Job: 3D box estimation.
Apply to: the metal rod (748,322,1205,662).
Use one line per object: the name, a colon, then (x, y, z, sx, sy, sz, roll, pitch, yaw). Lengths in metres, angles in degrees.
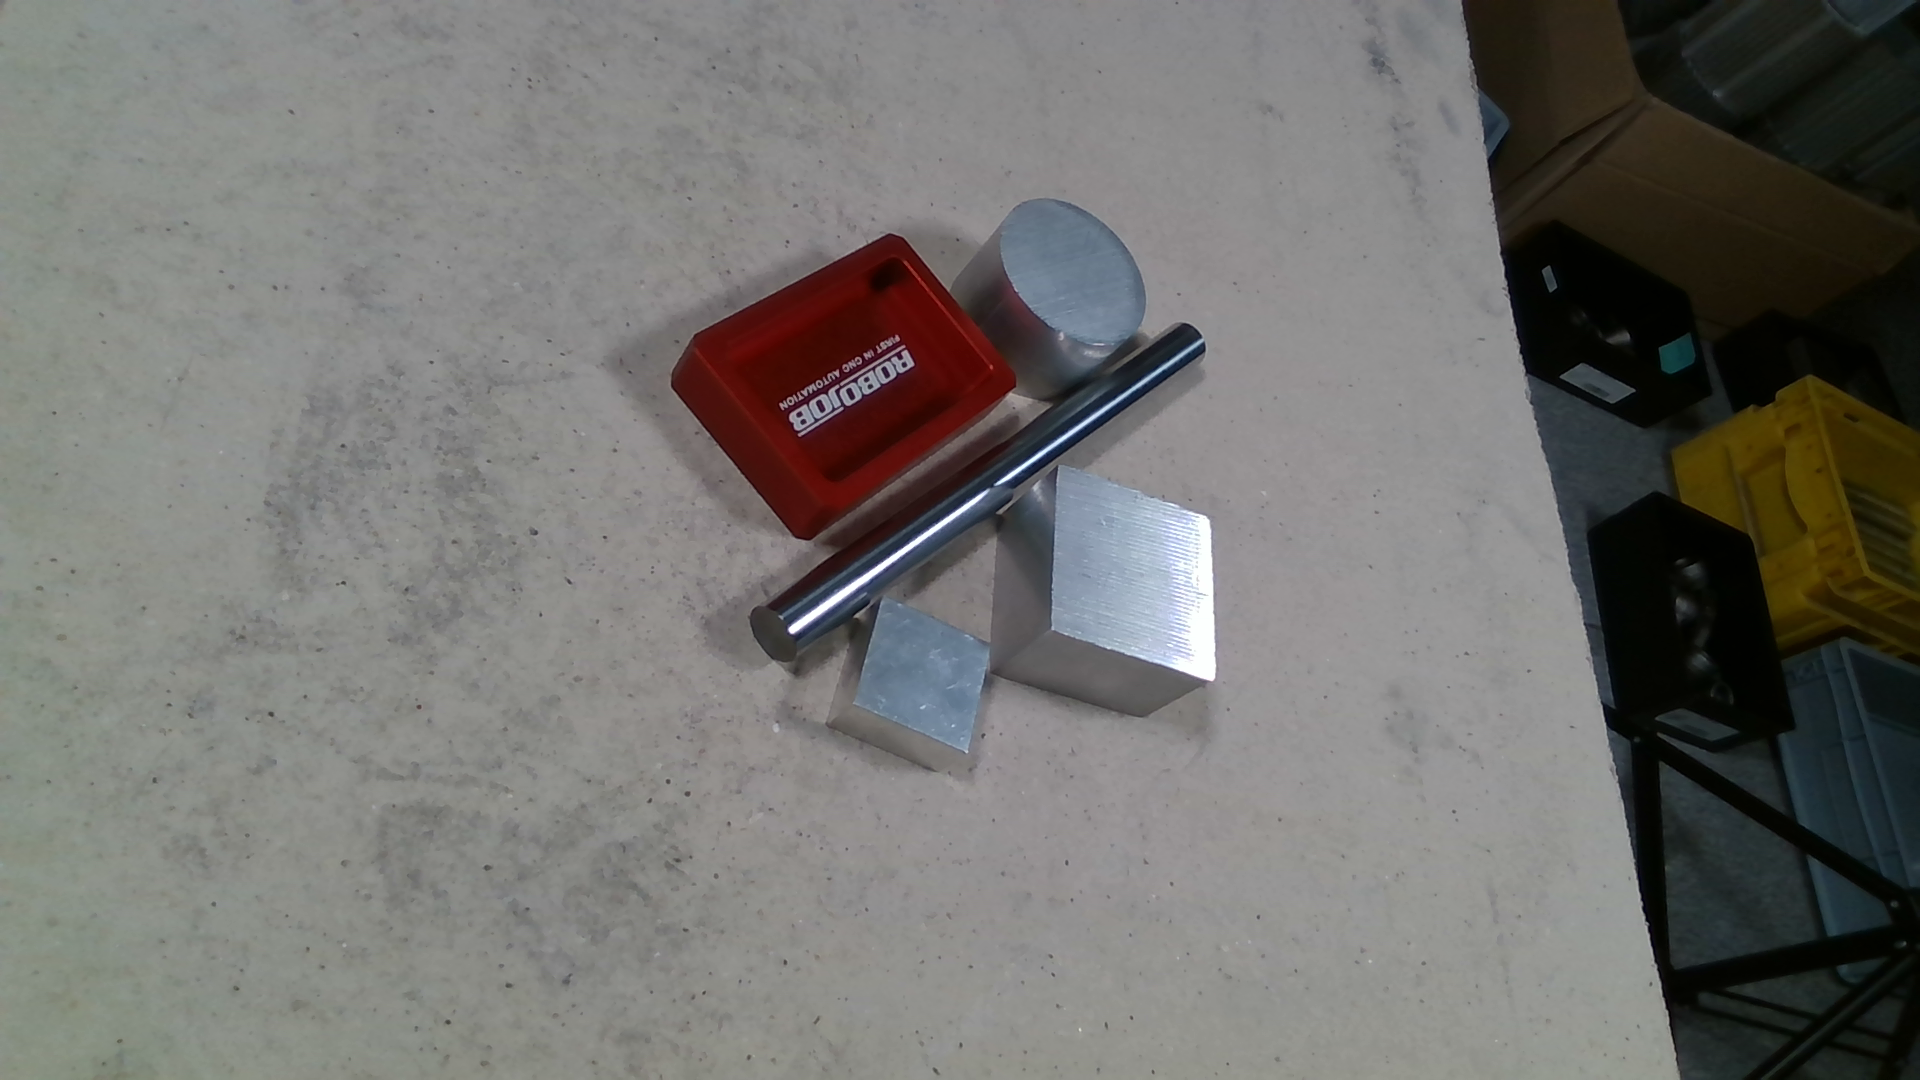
metal rod: (0.022, -0.033, 0.617, 0.299, 0.025, 0.025, -36, 87, -39)

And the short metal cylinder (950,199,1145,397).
short metal cylinder: (0.041, -0.114, 0.657, 0.080, 0.050, 0.080, 14, 59, -25)

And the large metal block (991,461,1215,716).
large metal block: (0.061, 0.023, 0.595, 0.080, 0.050, 0.080, 18, 57, -23)

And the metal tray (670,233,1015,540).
metal tray: (-0.047, -0.069, 0.591, 0.090, 0.030, 0.130, 51, 51, 2)

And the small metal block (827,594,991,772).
small metal block: (-0.020, 0.057, 0.544, 0.050, 0.025, 0.050, 26, 54, -18)
